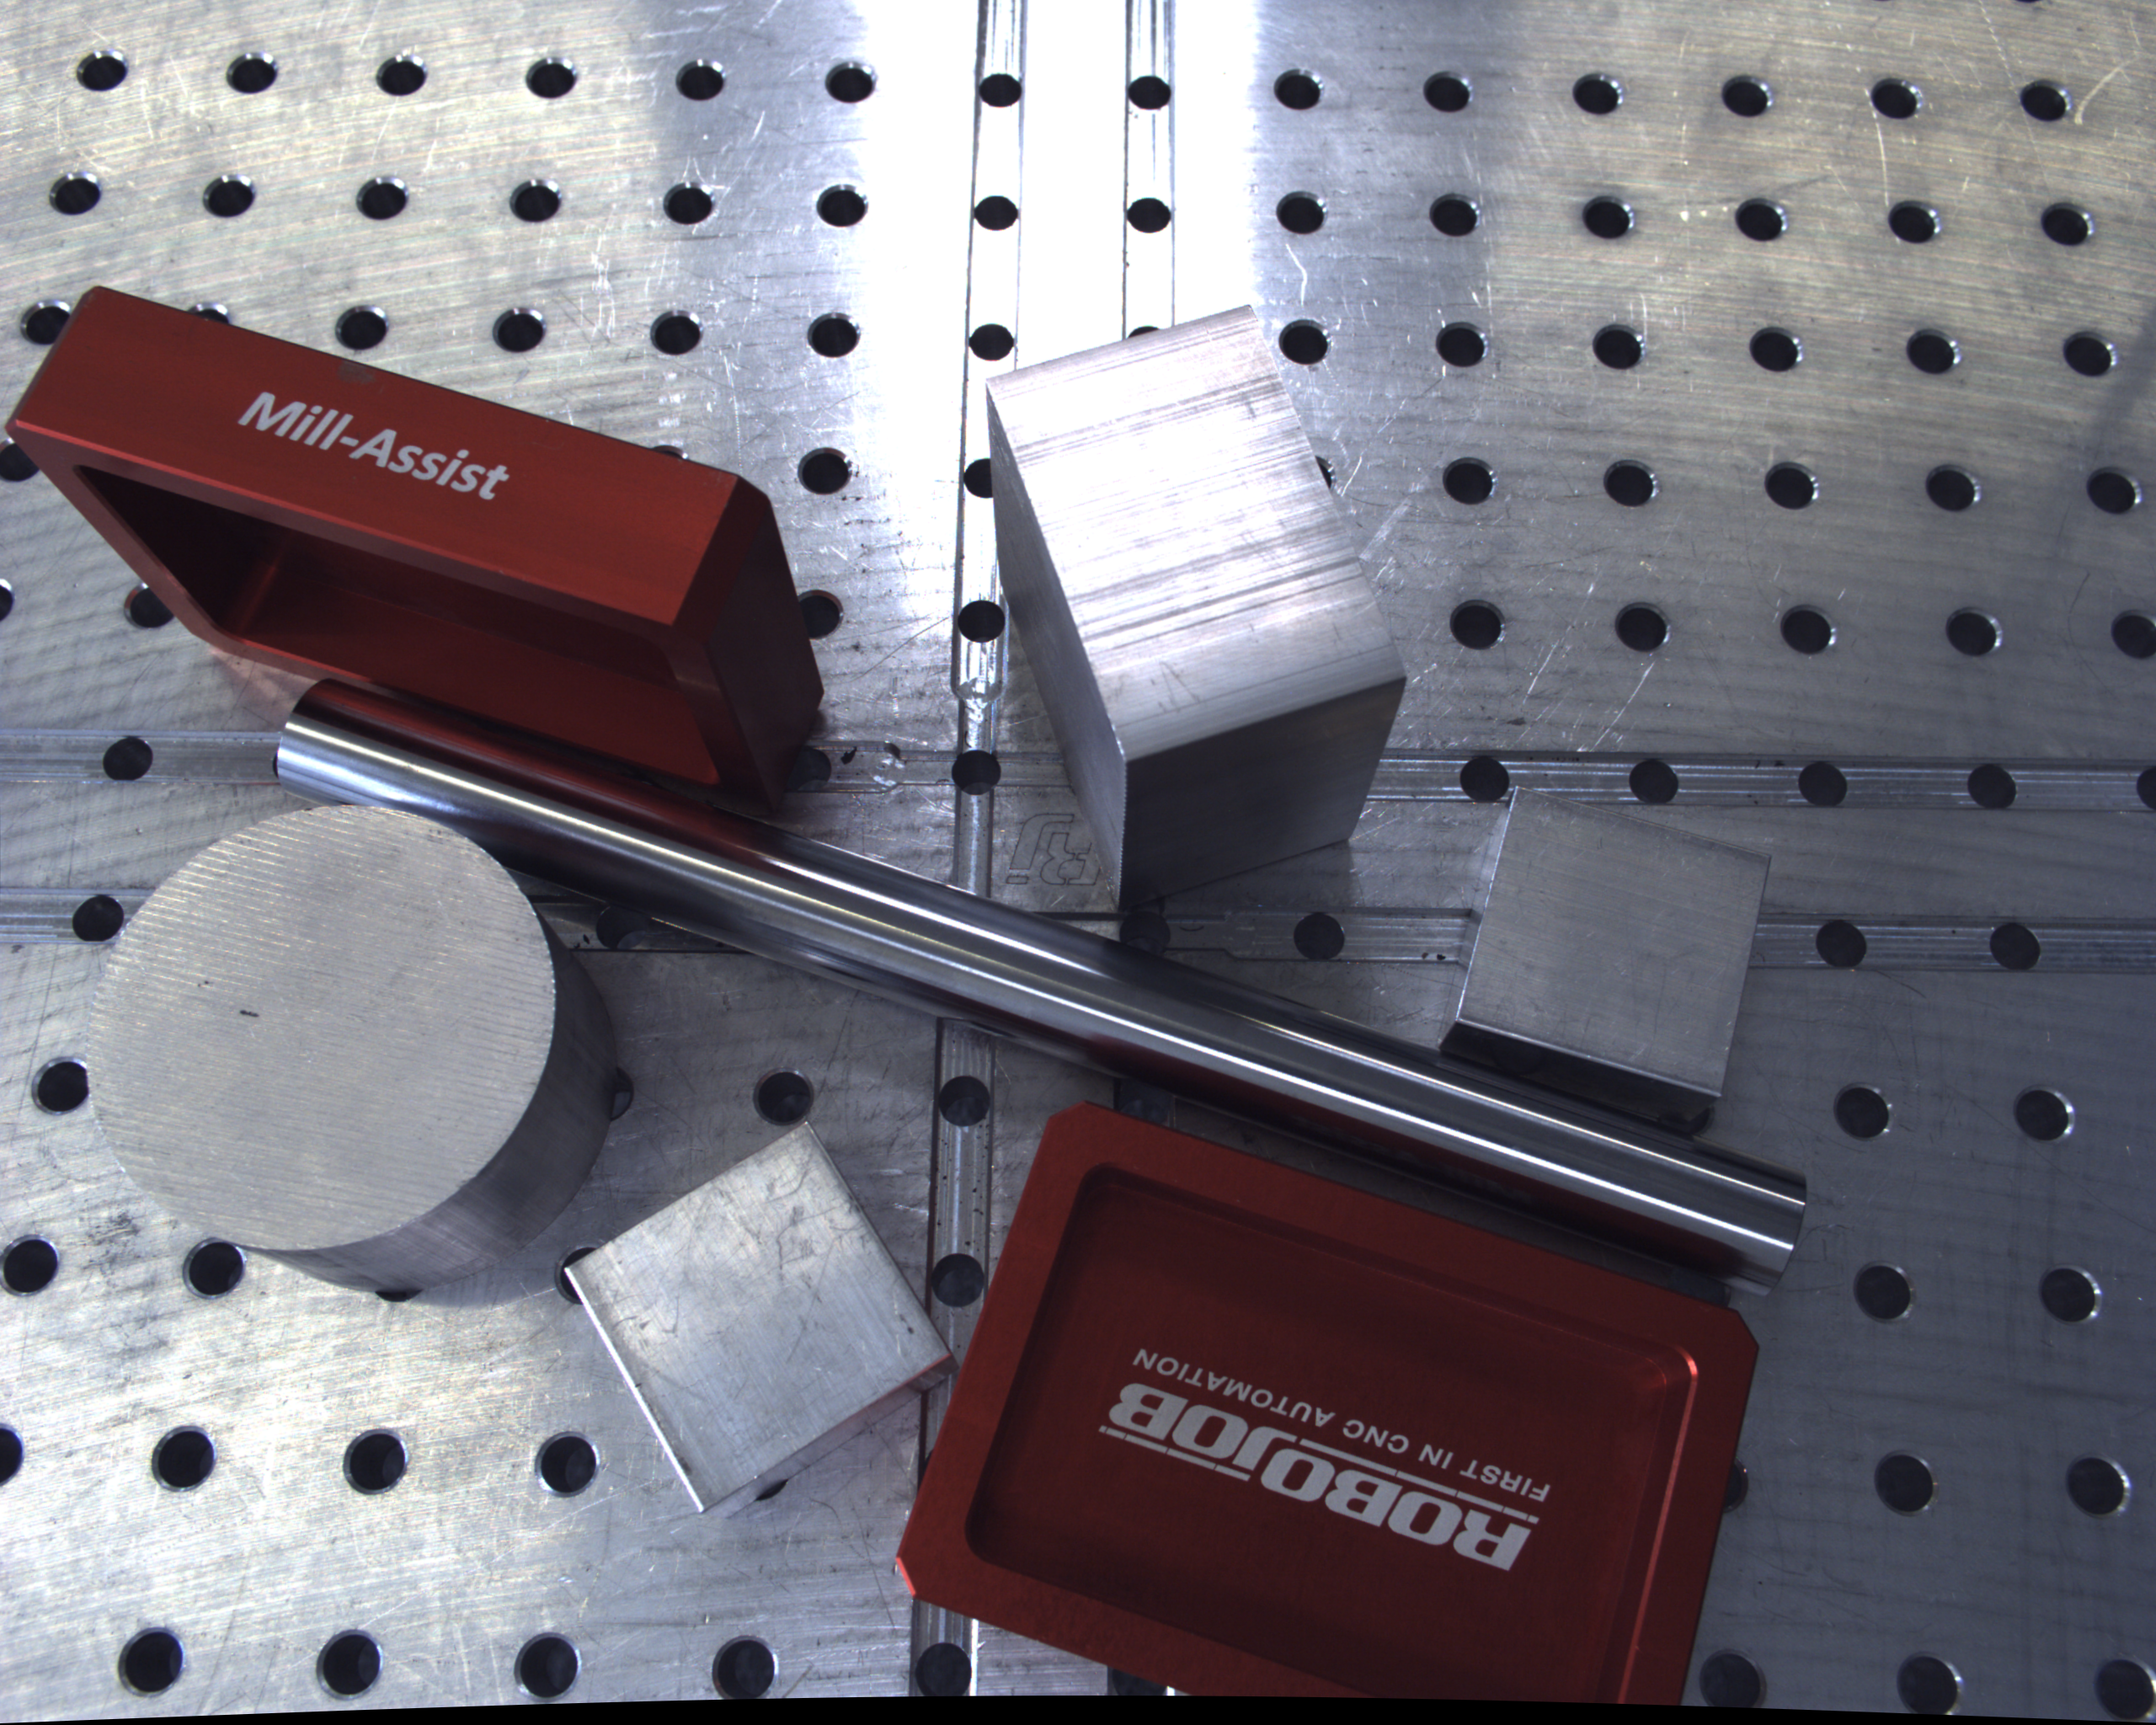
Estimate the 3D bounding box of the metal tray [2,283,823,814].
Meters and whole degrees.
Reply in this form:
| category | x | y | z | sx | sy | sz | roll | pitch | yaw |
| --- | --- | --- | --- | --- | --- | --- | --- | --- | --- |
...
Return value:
| category | x | y | z | sx | sy | sz | roll | pitch | yaw |
| --- | --- | --- | --- | --- | --- | --- | --- | --- | --- |
| metal tray | -0.119 | -0.056 | 0.395 | 0.131 | 0.090 | 0.030 | 18 | 71 | 6 |

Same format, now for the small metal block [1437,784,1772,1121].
| category | x | y | z | sx | sy | sz | roll | pitch | yaw |
| --- | --- | --- | --- | --- | --- | --- | --- | --- | --- |
| small metal block | 0.102 | 0.018 | 0.405 | 0.050 | 0.025 | 0.050 | 16 | 71 | 5 |

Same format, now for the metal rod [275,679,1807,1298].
| category | x | y | z | sx | sy | sz | roll | pitch | yaw |
| --- | --- | --- | --- | --- | --- | --- | --- | --- | --- |
| metal rod | -0.012 | 0.022 | 0.403 | 0.301 | 0.025 | 0.025 | 18 | 71 | 6 |

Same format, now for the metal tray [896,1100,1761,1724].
| category | x | y | z | sx | sy | sz | roll | pitch | yaw |
| --- | --- | --- | --- | --- | --- | --- | --- | --- | --- |
| metal tray | 0.044 | 0.105 | 0.370 | 0.131 | 0.030 | 0.090 | 17 | 71 | 6 |

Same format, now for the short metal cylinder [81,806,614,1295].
| category | x | y | z | sx | sy | sz | roll | pitch | yaw |
| --- | --- | --- | --- | --- | --- | --- | --- | --- | --- |
| short metal cylinder | -0.131 | 0.036 | 0.383 | 0.081 | 0.050 | 0.080 | 0 | 70 | 0 |

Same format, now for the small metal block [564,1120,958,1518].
| category | x | y | z | sx | sy | sz | roll | pitch | yaw |
| --- | --- | --- | --- | --- | --- | --- | --- | --- | --- |
| small metal block | -0.057 | 0.084 | 0.381 | 0.050 | 0.025 | 0.050 | -31 | 73 | -11 |

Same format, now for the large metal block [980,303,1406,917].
| category | x | y | z | sx | sy | sz | roll | pitch | yaw |
| --- | --- | --- | --- | --- | --- | --- | --- | --- | --- |
| large metal block | 0.019 | -0.045 | 0.400 | 0.050 | 0.080 | 0.080 | -17 | 71 | -6 |
